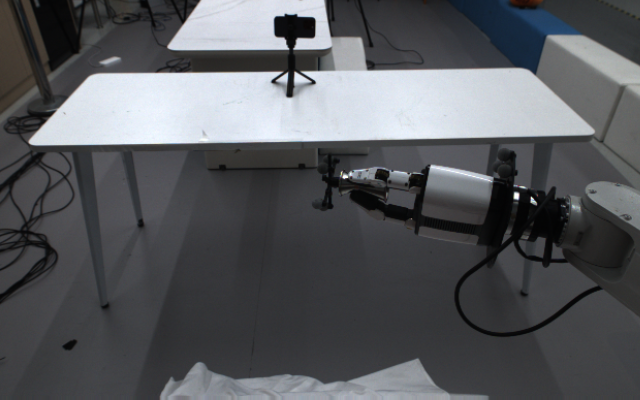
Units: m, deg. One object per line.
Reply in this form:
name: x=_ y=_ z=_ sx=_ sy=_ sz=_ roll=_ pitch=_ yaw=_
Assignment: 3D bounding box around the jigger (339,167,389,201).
jigger: x=0.070 y=-0.026 z=0.695 sx=0.071 sy=0.043 sz=0.043 roll=6 pitch=35 yaw=13
